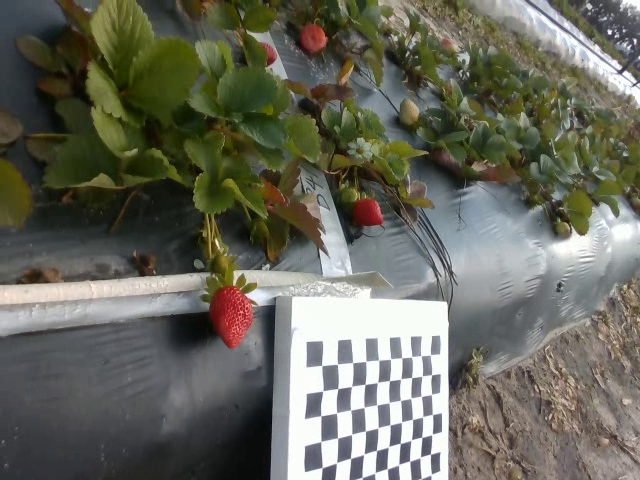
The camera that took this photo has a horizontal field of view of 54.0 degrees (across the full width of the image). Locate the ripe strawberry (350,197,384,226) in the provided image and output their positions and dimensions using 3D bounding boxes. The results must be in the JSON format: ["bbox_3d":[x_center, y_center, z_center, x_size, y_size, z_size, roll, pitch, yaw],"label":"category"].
[{"bbox_3d":[0.055,-0.029,0.663,0.037,0.030,0.047,28,13,-46],"label":"ripe strawberry"}]

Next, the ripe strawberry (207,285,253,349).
[{"bbox_3d":[-0.063,0.057,0.440,0.030,0.048,0.052,-20,36,19],"label":"ripe strawberry"}]
